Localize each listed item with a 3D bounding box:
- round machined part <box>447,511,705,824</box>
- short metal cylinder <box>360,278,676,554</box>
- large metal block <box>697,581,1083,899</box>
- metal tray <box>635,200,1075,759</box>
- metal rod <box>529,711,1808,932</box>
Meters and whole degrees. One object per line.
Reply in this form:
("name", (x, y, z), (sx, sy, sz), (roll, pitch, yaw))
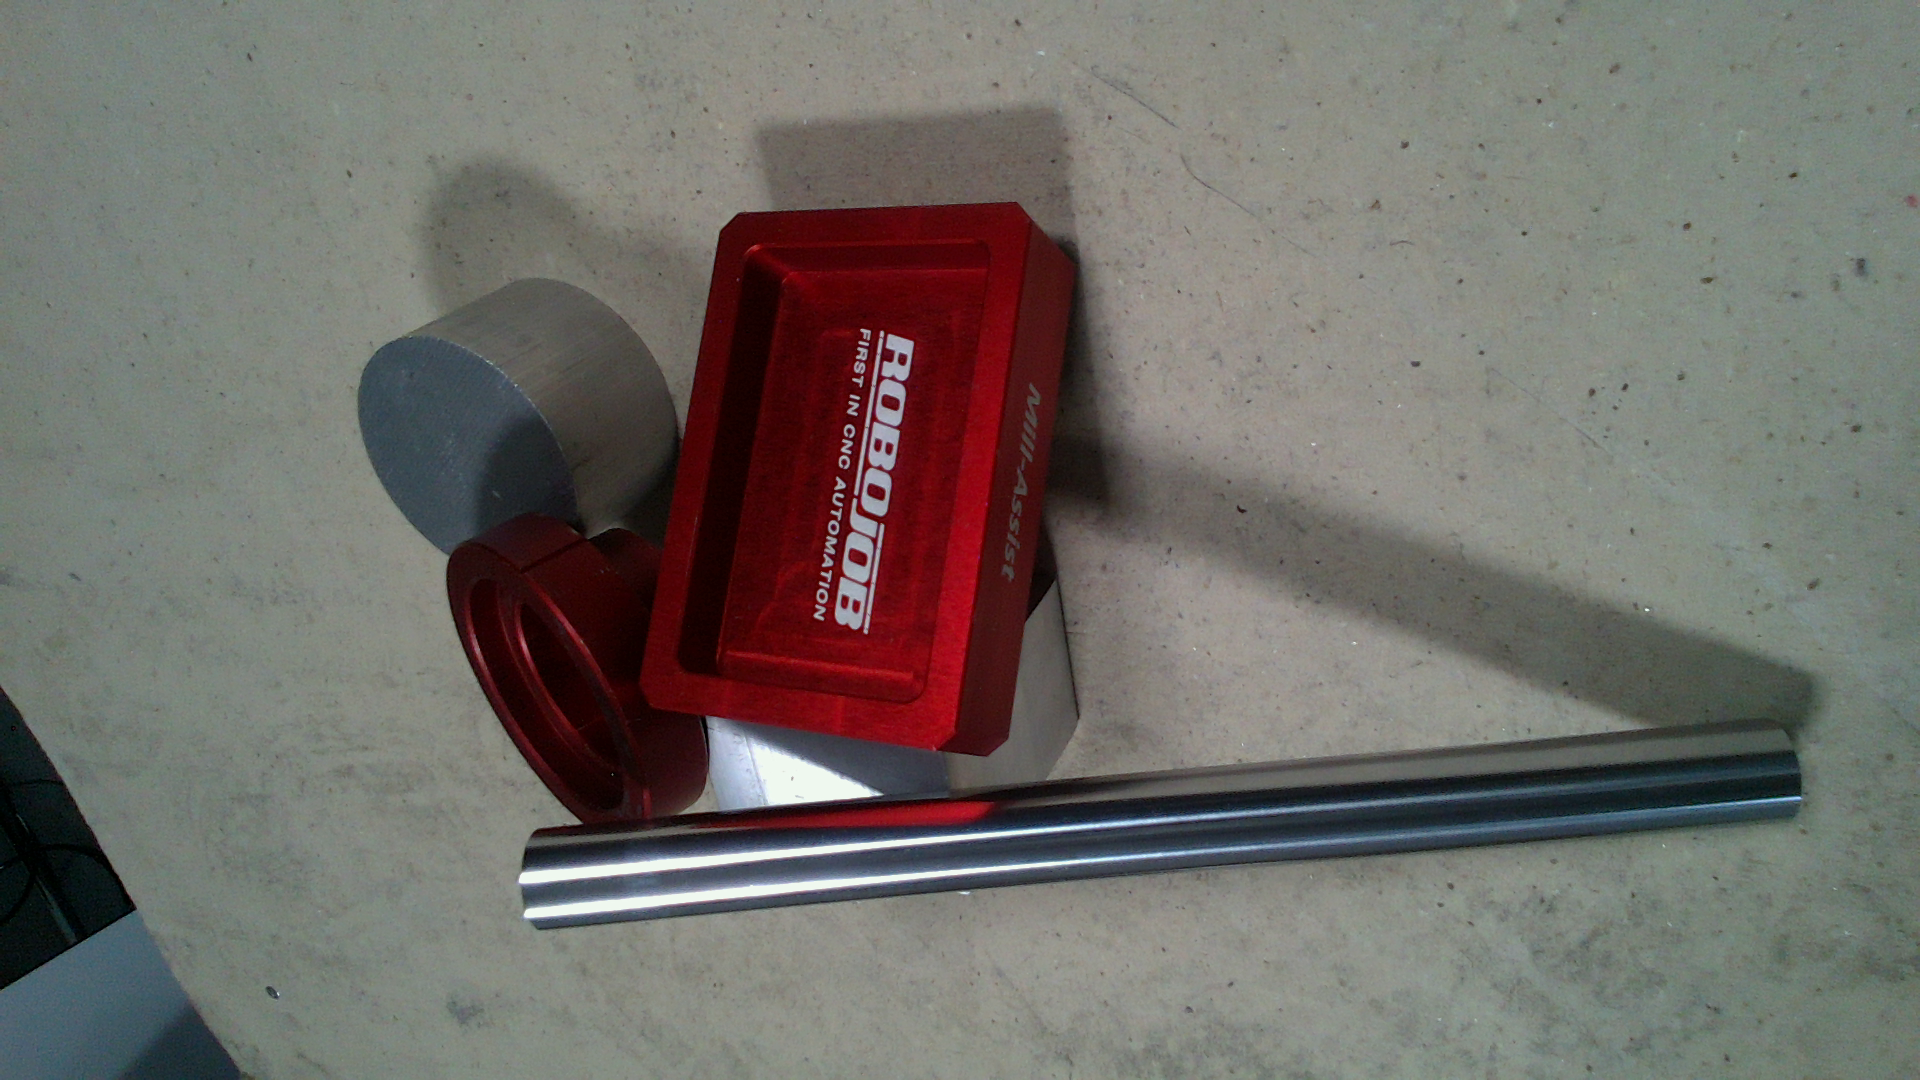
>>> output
("round machined part", (-0.105, 0.036, 0.403), (0.098, 0.042, 0.098), (30, 137, 34))
("short metal cylinder", (-0.137, -0.035, 0.429), (0.080, 0.050, 0.080), (13, 124, 21))
("large metal block", (-0.019, 0.051, 0.398), (0.080, 0.080, 0.050), (4, 121, 26))
("metal tray", (-0.026, -0.017, 0.344), (0.090, 0.030, 0.130), (4, 81, 26))
("metal rod", (0.045, 0.070, 0.336), (0.300, 0.025, 0.025), (-6, 118, 4))
